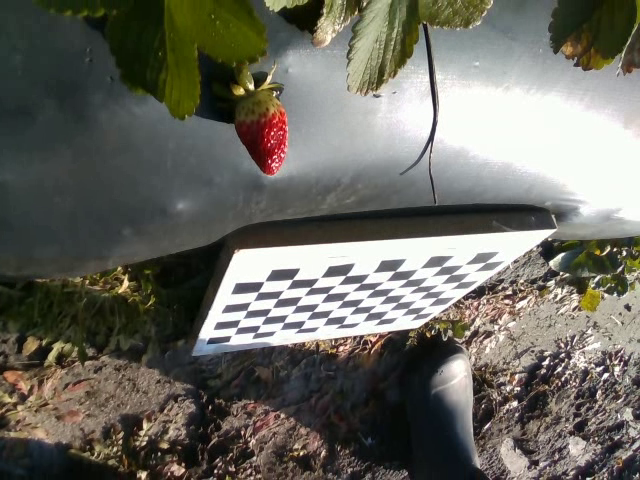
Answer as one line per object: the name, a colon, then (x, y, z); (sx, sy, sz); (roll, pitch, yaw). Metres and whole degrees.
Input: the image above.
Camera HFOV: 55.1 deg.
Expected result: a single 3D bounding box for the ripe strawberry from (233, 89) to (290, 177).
ripe strawberry: (-0.025, -0.045, 0.270); (0.028, 0.041, 0.031); (-13, 10, 3)
